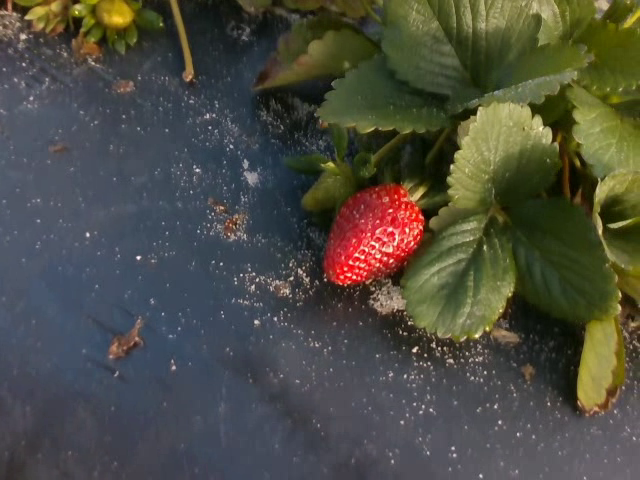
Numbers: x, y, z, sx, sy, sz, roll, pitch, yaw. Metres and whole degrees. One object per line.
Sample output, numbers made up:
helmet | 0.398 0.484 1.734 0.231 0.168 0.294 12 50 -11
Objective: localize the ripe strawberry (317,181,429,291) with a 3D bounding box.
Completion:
ripe strawberry | 0.011 -0.001 0.161 0.029 0.036 0.021 31 -31 23
